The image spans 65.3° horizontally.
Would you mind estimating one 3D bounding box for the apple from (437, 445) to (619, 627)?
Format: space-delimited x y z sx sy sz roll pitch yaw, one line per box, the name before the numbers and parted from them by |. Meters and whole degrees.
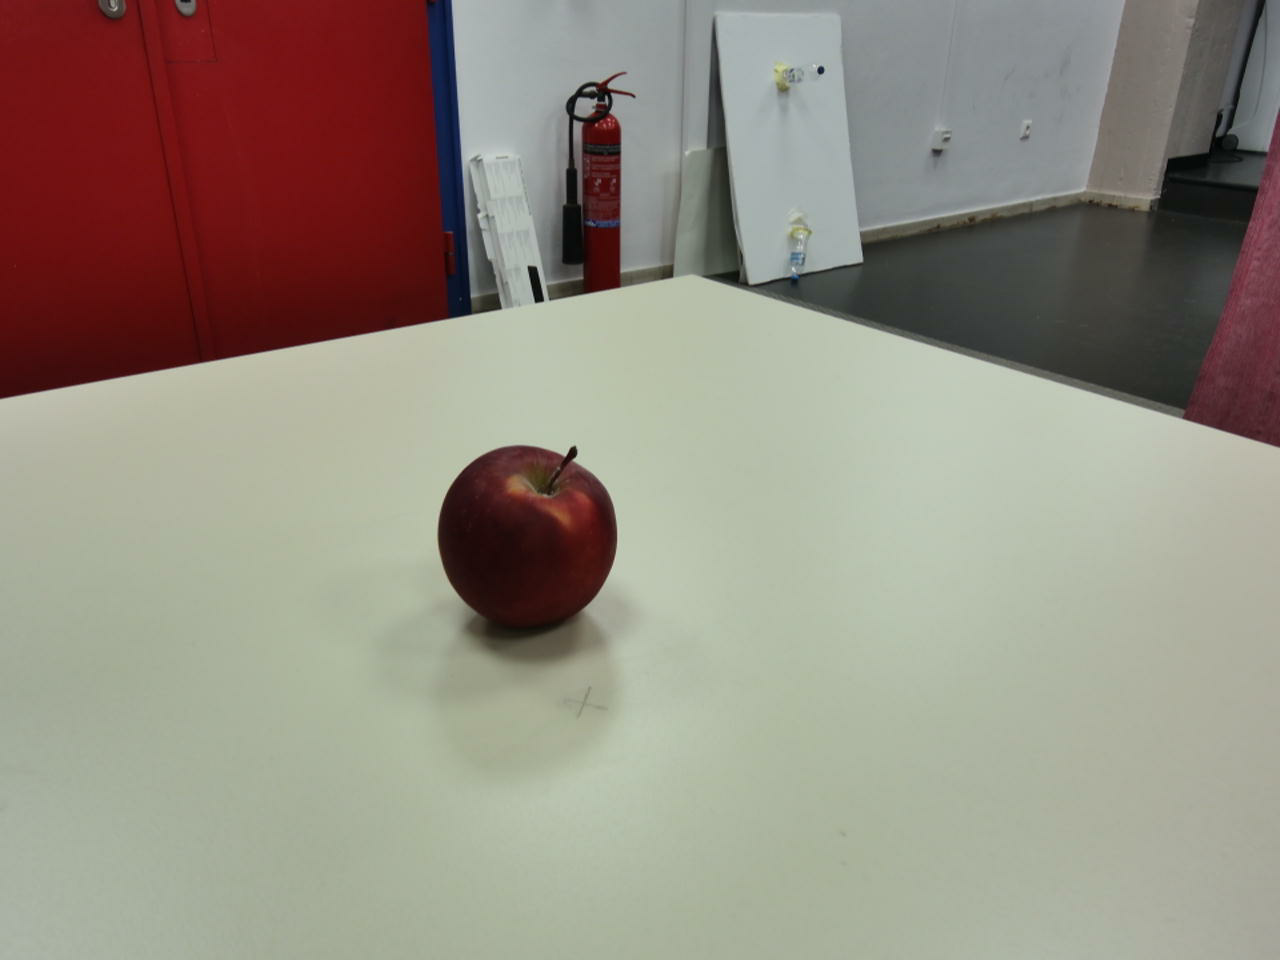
apple | -0.044 0.022 0.391 0.070 0.072 0.070 0 23 0
